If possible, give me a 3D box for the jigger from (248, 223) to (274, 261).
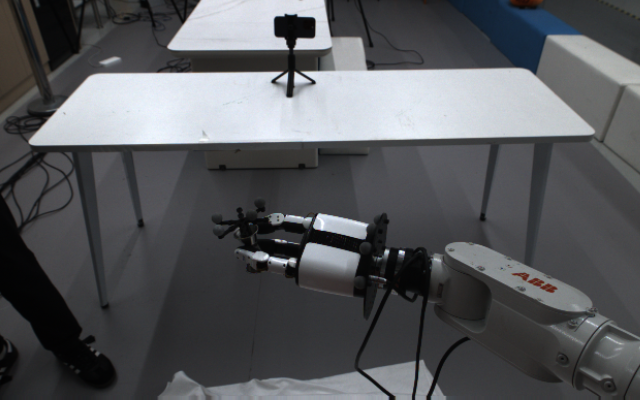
[{"bbox_3d":[-0.104,0.076,0.756,0.043,0.071,0.043,-12,30,7],"label":"jigger"}]
